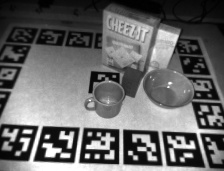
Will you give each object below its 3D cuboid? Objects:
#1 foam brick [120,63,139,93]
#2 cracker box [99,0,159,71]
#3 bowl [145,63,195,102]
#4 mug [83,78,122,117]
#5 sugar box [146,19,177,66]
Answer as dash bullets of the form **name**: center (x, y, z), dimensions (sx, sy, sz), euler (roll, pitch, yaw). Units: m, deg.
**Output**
- **foam brick**: center (0.053, -0.023, 0.699), dimensions (0.052, 0.078, 0.051), euler (14, 50, 8)
- **cracker box**: center (0.043, -0.147, 0.708), dimensions (0.163, 0.214, 0.072), euler (26, 51, 16)
- **bowl**: center (0.175, 0.005, 0.683), dimensions (0.162, 0.055, 0.161), euler (3, 51, -3)
- **mug**: center (-0.031, 0.038, 0.628), dimensions (0.117, 0.082, 0.092), euler (-5, 43, -7)
- **sugar box**: center (0.153, -0.140, 0.735), dimensions (0.092, 0.177, 0.045), euler (19, 51, 12)
